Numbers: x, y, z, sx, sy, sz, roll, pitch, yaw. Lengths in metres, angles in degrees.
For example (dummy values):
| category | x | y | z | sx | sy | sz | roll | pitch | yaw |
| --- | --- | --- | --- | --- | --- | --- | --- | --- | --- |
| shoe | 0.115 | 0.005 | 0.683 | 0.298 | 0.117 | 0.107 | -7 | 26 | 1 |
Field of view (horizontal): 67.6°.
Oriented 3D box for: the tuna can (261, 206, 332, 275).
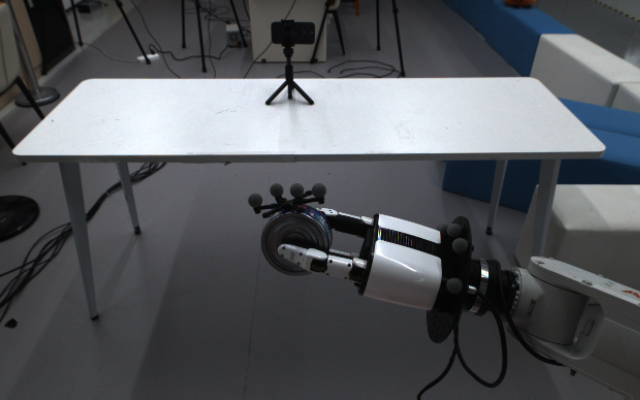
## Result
| category | x | y | z | sx | sy | sz | roll | pitch | yaw |
| --- | --- | --- | --- | --- | --- | --- | --- | --- | --- |
| tuna can | -0.025 | 0.055 | 0.595 | 0.085 | 0.085 | 0.034 | 6 | 18 | 5 |
